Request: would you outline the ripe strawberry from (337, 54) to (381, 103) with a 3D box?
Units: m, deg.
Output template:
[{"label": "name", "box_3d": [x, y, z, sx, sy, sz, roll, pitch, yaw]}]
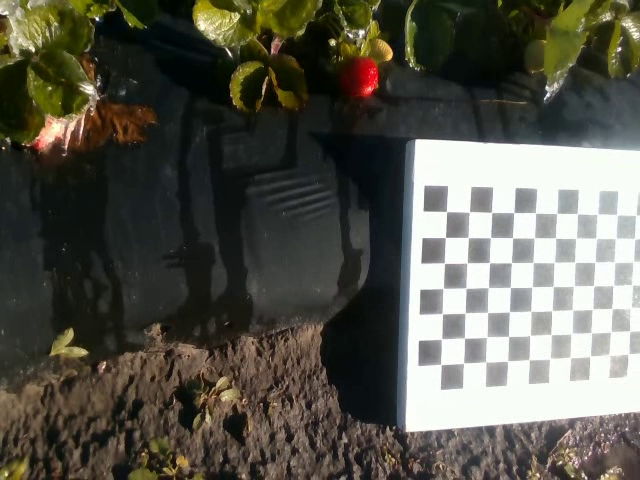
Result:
[{"label": "ripe strawberry", "box_3d": [0.029, -0.111, 0.417, 0.039, 0.040, 0.039, -8, 31, -5]}]
